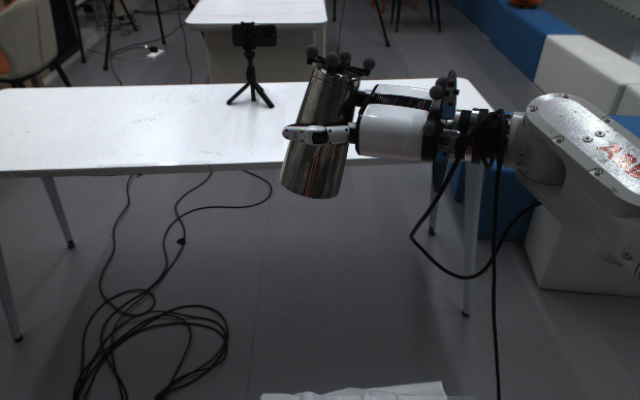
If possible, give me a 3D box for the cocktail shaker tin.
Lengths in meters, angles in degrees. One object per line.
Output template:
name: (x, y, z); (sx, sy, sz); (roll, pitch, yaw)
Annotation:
cocktail shaker tin: (0.005, -0.100, 0.684); (0.093, 0.170, 0.093); (12, 24, -5)
